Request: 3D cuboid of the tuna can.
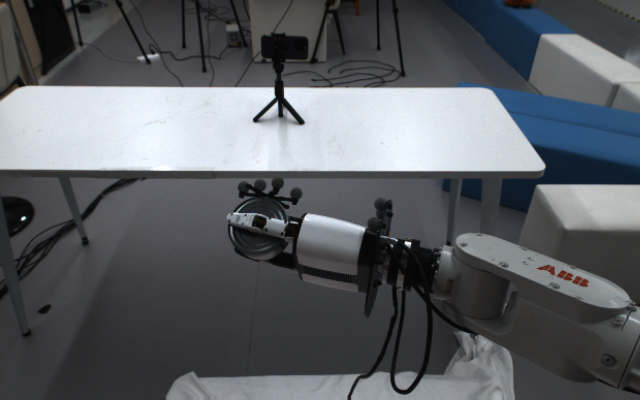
[{"bbox_3d":[-0.083,0.040,0.679,0.085,0.034,0.085,-3,69,8],"label":"tuna can"}]
